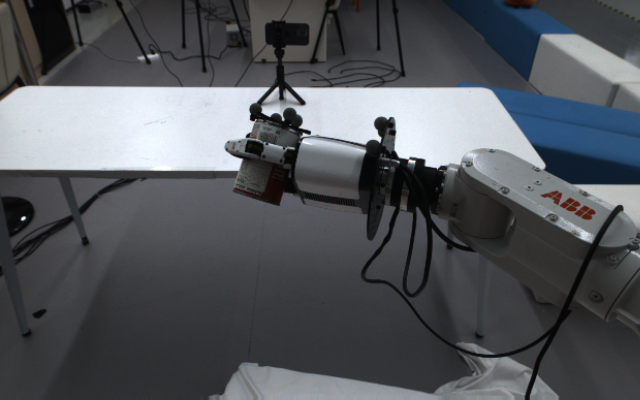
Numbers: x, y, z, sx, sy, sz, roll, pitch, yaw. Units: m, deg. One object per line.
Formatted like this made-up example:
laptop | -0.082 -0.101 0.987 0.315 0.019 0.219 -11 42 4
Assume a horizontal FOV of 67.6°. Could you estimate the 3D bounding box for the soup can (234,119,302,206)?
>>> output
soup can | -0.071 -0.049 0.653 0.067 0.101 0.067 17 -1 0
